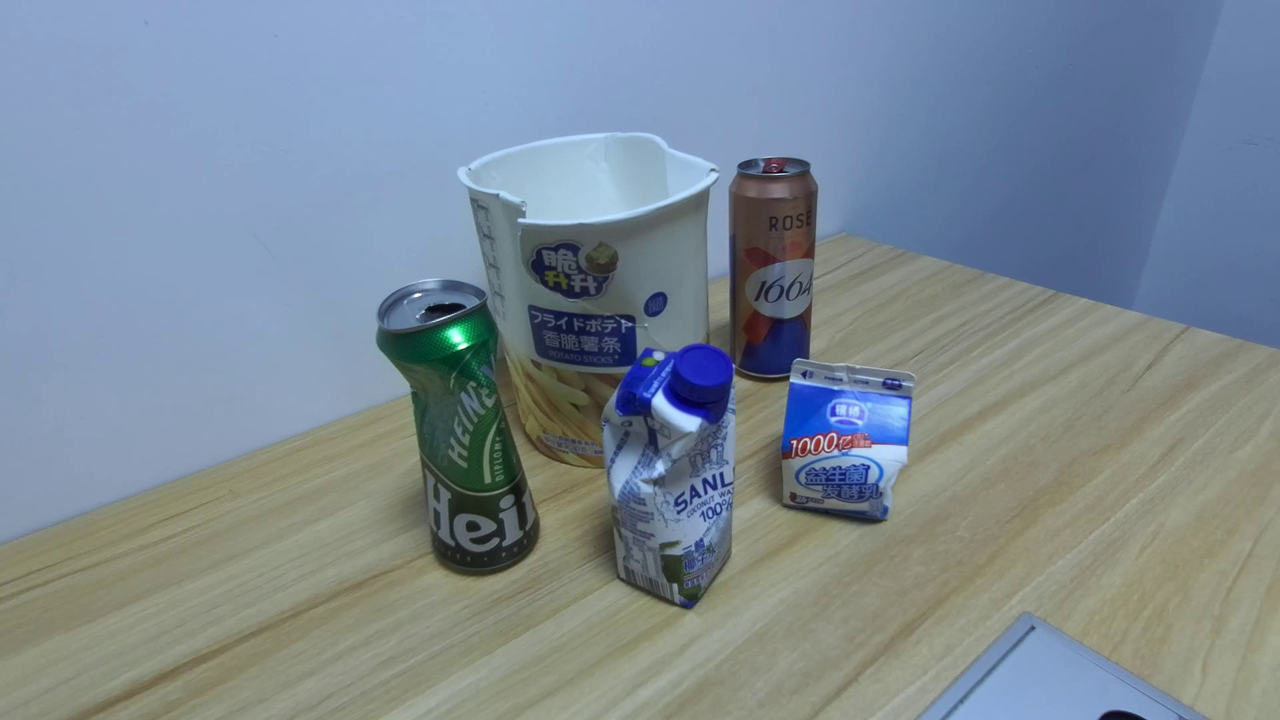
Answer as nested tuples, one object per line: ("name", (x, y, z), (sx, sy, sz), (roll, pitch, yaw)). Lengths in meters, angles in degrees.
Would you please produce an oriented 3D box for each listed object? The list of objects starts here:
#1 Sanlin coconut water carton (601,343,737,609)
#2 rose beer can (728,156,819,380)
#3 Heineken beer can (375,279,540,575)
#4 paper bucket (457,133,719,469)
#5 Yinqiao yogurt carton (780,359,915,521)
("Sanlin coconut water carton", (0.015, 0.056, 0.368), (0.069, 0.144, 0.061), (16, 35, 31))
("rose beer can", (0.104, -0.070, 0.563), (0.068, 0.169, 0.068), (-3, 28, 2))
("Heineken beer can", (-0.100, 0.040, 0.399), (0.066, 0.164, 0.077), (-6, 31, 0))
("paper bucket", (-0.023, -0.044, 0.499), (0.146, 0.197, 0.202), (-18, 31, -19))
("Yinqiao yogurt carton", (0.127, 0.041, 0.429), (0.074, 0.097, 0.080), (5, 37, 17))
